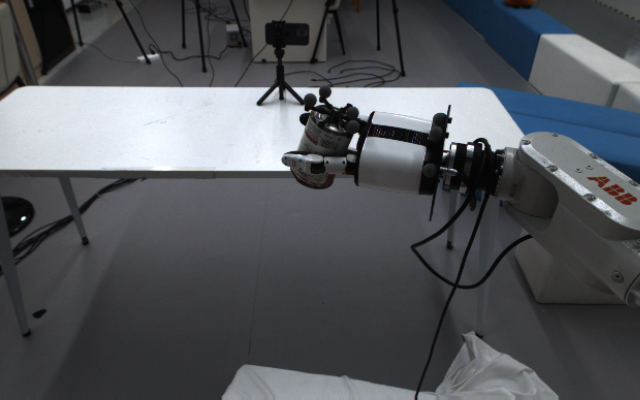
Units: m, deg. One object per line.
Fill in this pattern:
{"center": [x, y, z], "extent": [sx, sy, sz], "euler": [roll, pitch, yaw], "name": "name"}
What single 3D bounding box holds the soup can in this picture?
{"center": [0.004, -0.074, 0.689], "extent": [0.067, 0.101, 0.067], "euler": [14, 40, -12], "name": "soup can"}
